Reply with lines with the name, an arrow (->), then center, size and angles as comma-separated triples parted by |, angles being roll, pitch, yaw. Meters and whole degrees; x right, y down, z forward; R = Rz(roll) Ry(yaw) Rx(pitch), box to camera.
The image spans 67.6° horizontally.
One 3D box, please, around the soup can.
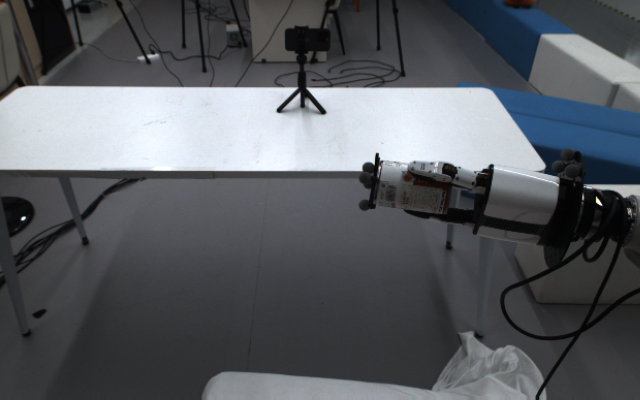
soup can -> 0.135, -0.019, 0.690 | 0.101, 0.067, 0.067 | 8, 35, 9
